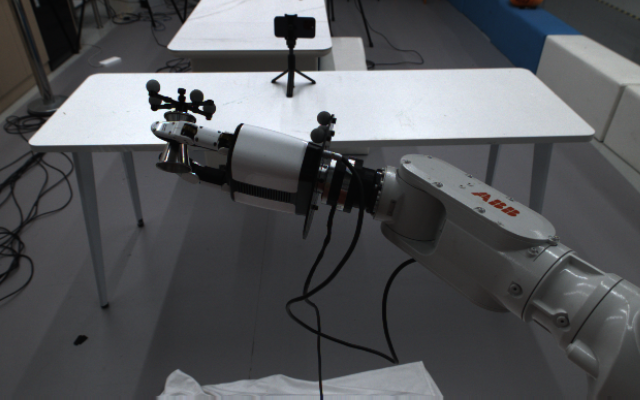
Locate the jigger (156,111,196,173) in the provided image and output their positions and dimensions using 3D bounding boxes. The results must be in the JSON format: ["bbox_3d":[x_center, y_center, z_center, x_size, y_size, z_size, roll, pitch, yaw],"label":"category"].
[{"bbox_3d":[-0.180,-0.072,0.608,0.043,0.043,0.071,3,77,1],"label":"jigger"}]
